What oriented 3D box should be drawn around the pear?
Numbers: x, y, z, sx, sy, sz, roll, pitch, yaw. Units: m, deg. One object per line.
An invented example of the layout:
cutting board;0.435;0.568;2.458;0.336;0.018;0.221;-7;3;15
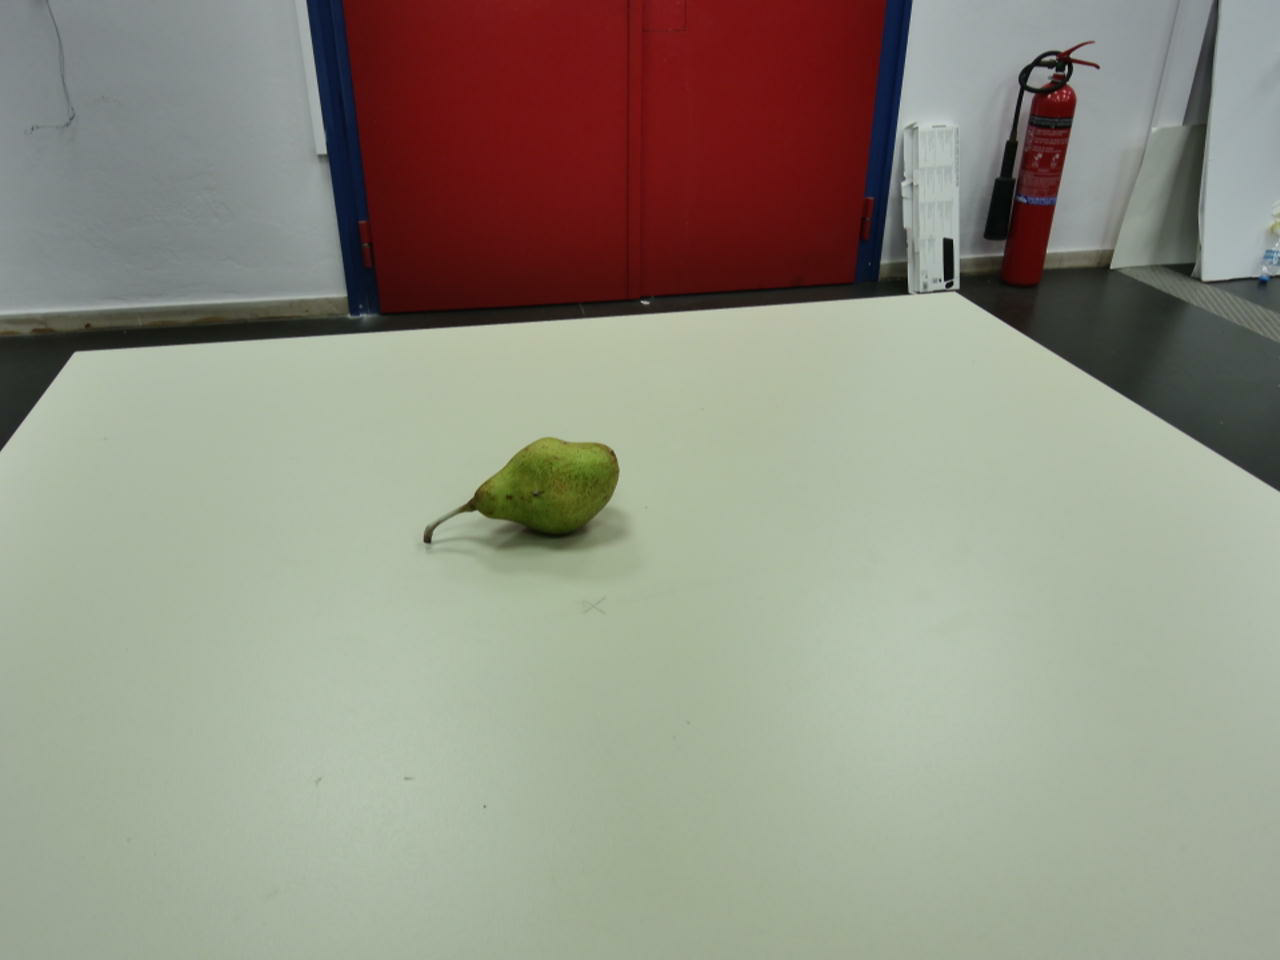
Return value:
pear;-0.067;0.004;0.587;0.111;0.056;0.056;0;26;3
